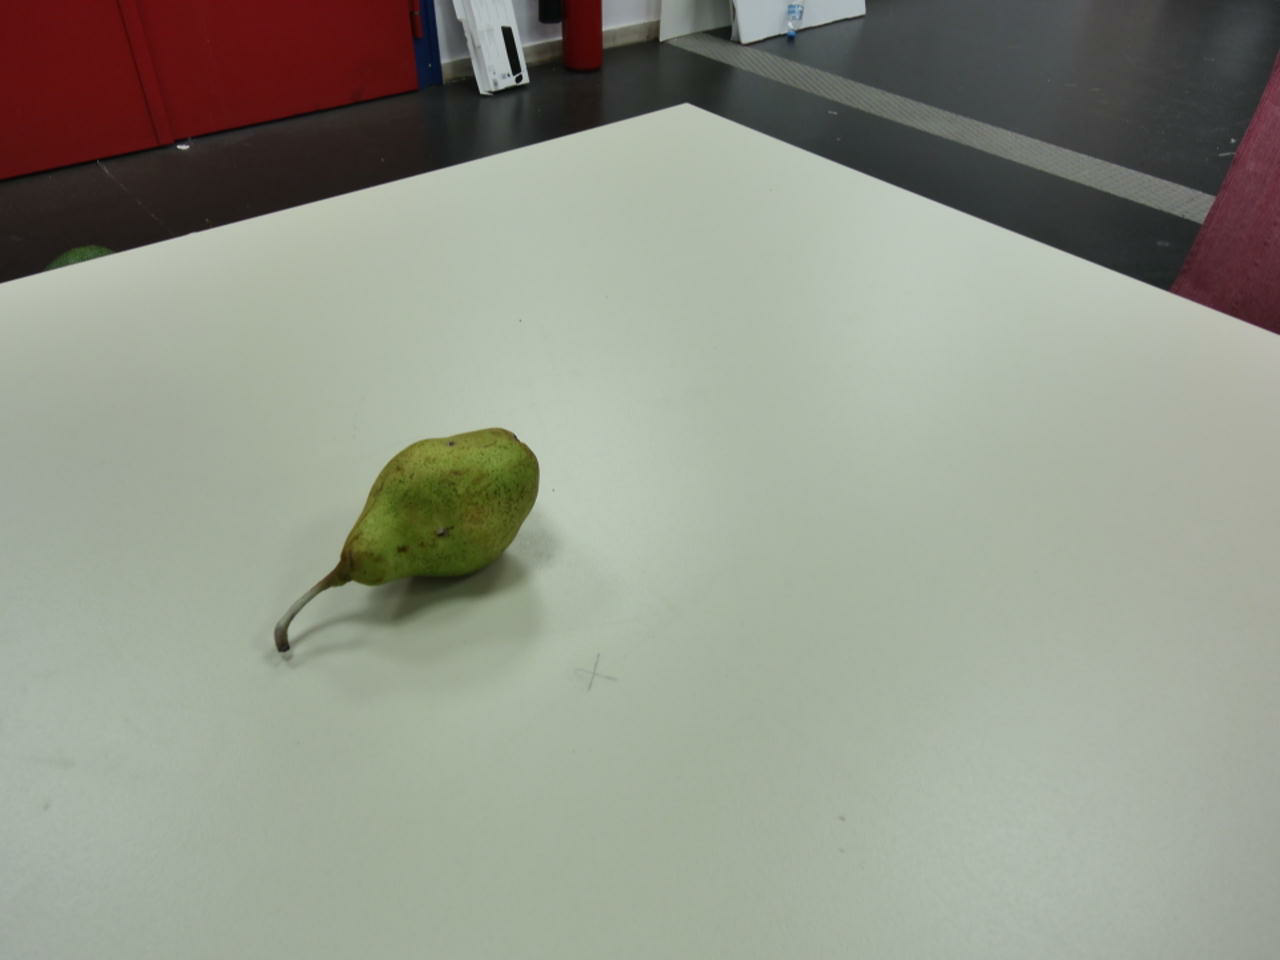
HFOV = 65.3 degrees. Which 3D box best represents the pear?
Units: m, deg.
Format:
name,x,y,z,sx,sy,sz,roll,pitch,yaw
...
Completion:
name,x,y,z,sx,sy,sz,roll,pitch,yaw
pear,-0.092,0.015,0.384,0.111,0.056,0.056,-15,40,-20
